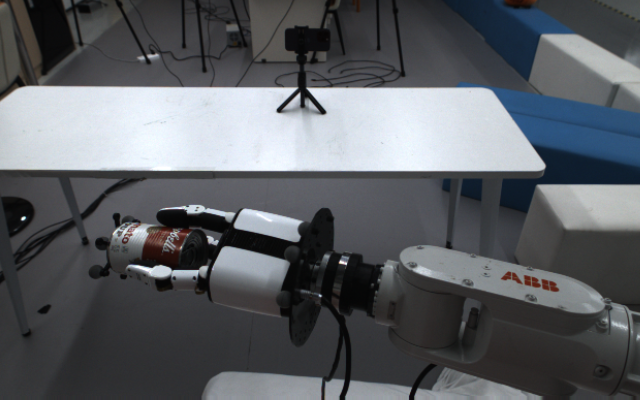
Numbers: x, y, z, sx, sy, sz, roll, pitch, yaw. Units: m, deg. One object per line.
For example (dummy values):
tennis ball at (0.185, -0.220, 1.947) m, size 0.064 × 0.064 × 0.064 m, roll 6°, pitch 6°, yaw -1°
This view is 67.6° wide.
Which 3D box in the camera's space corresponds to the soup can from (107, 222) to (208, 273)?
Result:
soup can at (-0.197, 0.066, 0.597) m, size 0.101 × 0.067 × 0.067 m, roll 5°, pitch 34°, yaw 14°
